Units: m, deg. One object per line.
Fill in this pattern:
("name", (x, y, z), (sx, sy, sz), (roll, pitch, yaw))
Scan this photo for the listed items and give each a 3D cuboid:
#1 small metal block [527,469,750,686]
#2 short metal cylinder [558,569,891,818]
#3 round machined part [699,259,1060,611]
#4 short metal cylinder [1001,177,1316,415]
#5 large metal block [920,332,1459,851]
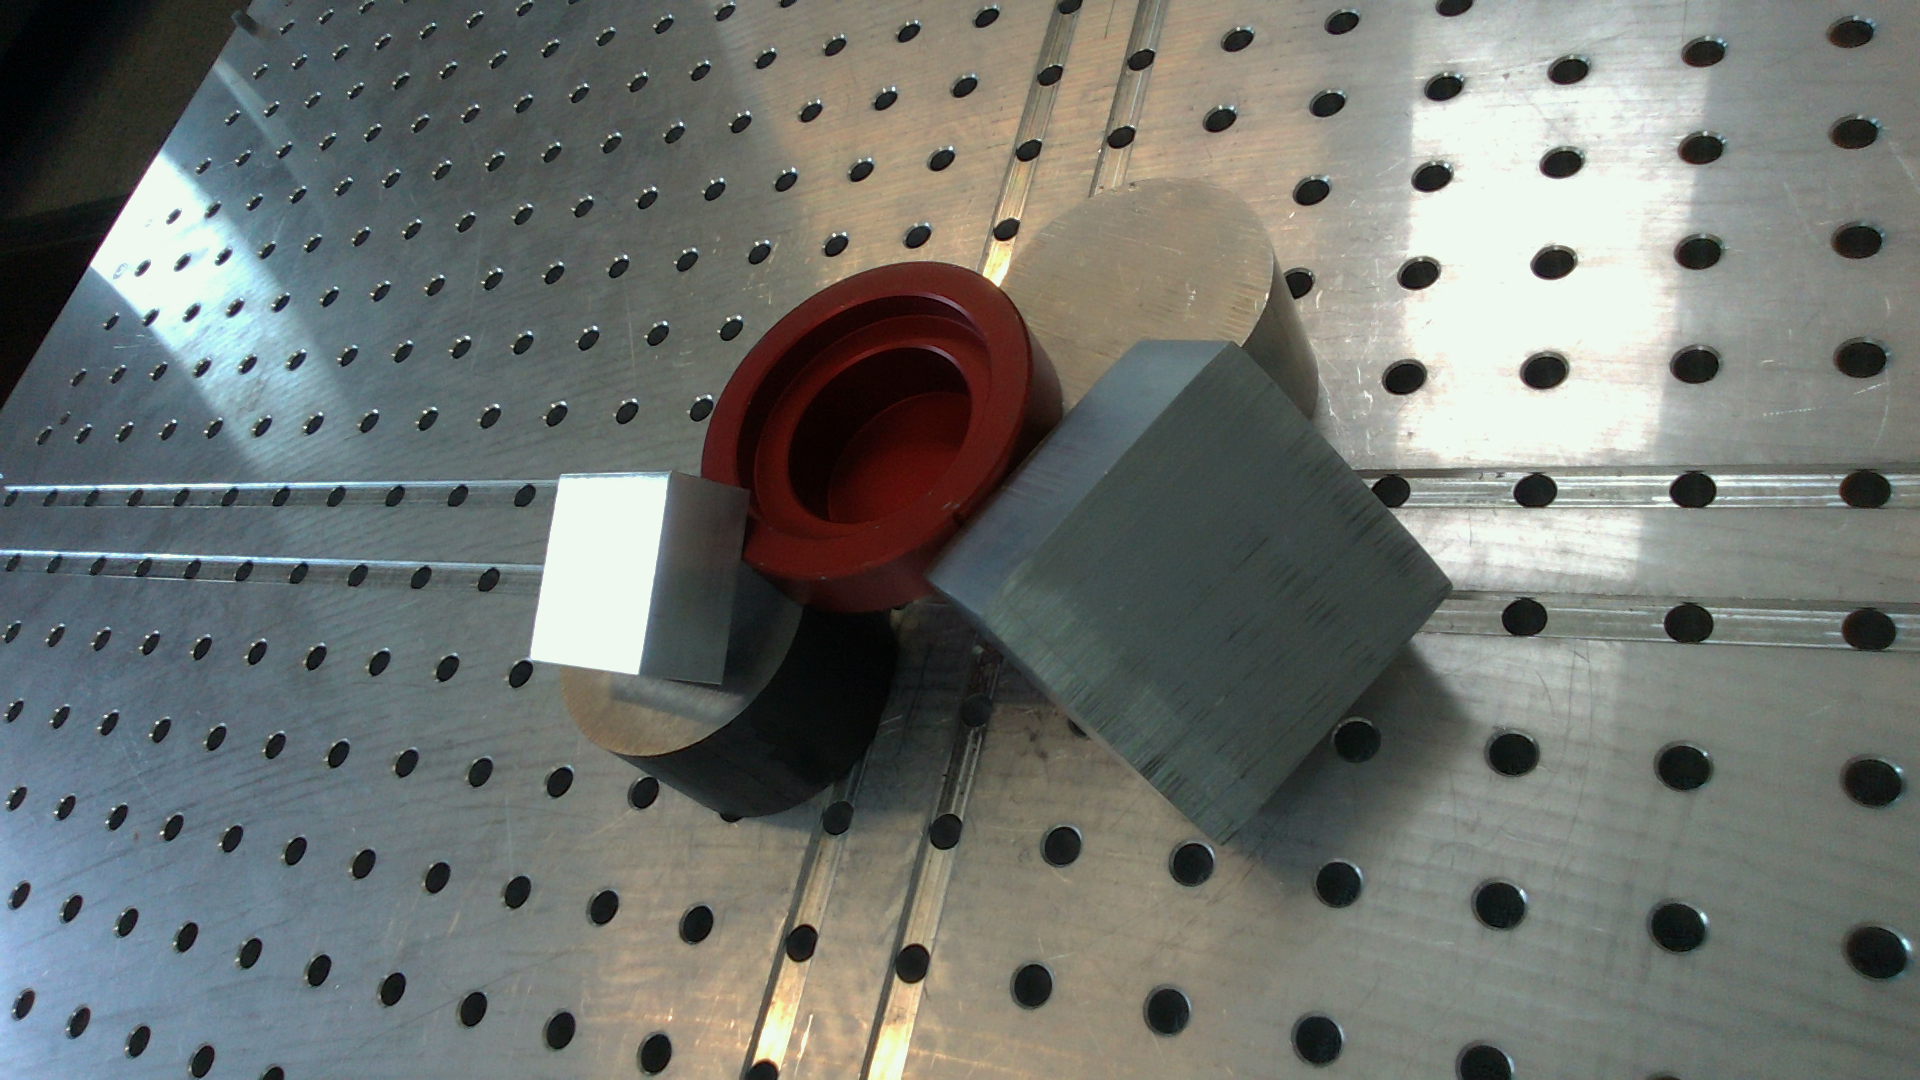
("small metal block", (-0.083, 0.009, 0.355), (0.050, 0.025, 0.050), (2, 81, 43))
("short metal cylinder", (-0.067, 0.033, 0.396), (0.080, 0.050, 0.080), (-13, 56, 21))
("round machined part", (-0.018, -0.024, 0.373), (0.098, 0.042, 0.098), (-13, 56, 21))
("short metal cylinder", (0.054, -0.053, 0.384), (0.080, 0.050, 0.080), (-13, 56, 21))
("large metal block", (0.052, 0.009, 0.319), (0.080, 0.080, 0.050), (-47, 17, -5))
